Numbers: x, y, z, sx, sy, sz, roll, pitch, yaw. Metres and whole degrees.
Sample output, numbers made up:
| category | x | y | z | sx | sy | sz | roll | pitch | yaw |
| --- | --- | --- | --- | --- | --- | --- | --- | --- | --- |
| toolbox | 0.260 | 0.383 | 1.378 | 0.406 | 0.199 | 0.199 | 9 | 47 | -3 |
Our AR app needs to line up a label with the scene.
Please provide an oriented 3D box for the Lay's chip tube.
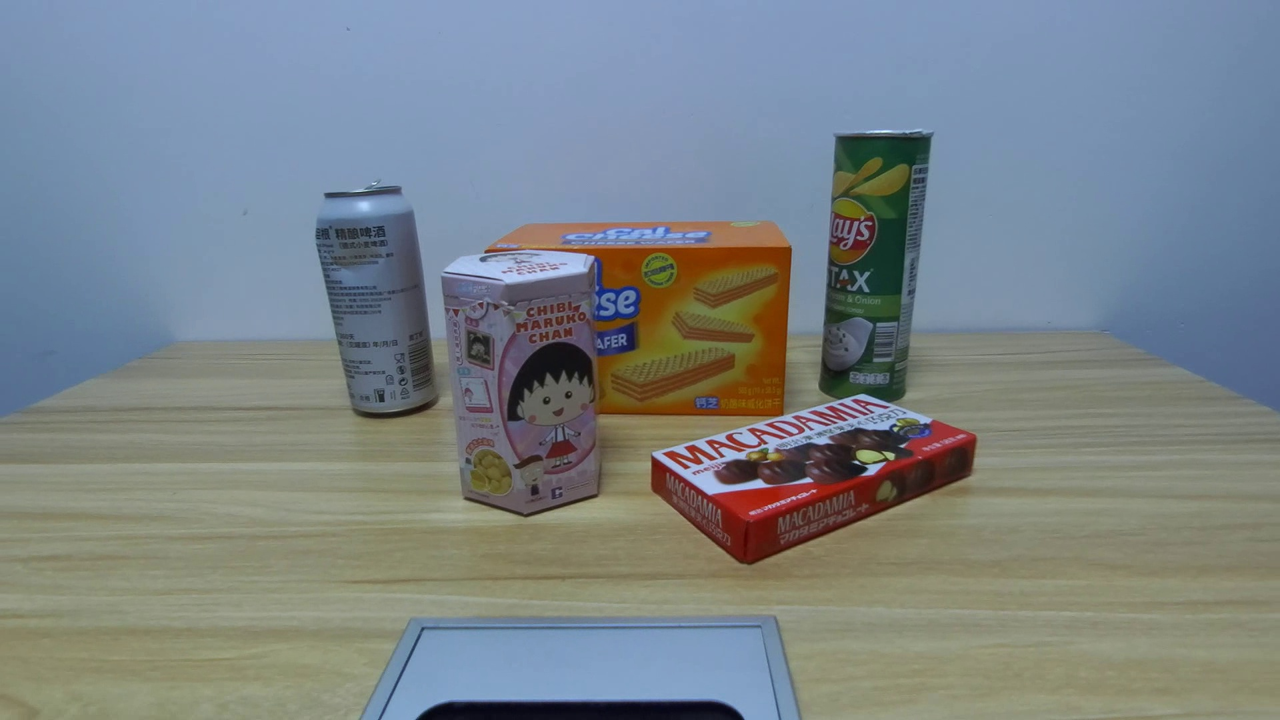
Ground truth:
| category | x | y | z | sx | sy | sz | roll | pitch | yaw |
| --- | --- | --- | --- | --- | --- | --- | --- | --- | --- |
| Lay's chip tube | 0.180 | -0.072 | 0.545 | 0.071 | 0.202 | 0.071 | -1 | 17 | 1 |

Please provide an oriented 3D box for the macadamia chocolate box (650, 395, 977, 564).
| category | x | y | z | sx | sy | sz | roll | pitch | yaw |
| --- | --- | --- | --- | --- | --- | --- | --- | --- | --- |
| macadamia chocolate box | 0.104 | 0.062 | 0.423 | 0.178 | 0.027 | 0.095 | -11 | 20 | -28 |

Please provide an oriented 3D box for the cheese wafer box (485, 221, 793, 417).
| category | x | y | z | sx | sy | sz | roll | pitch | yaw |
| --- | --- | --- | --- | --- | --- | --- | --- | --- | --- |
| cheese wafer box | 0.004 | -0.040 | 0.577 | 0.222 | 0.129 | 0.148 | 0 | 18 | 3 |

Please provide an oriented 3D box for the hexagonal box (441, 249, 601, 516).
| category | x | y | z | sx | sy | sz | roll | pitch | yaw |
| --- | --- | --- | --- | --- | --- | --- | --- | --- | --- |
| hexagonal box | -0.064 | 0.011 | 0.413 | 0.091 | 0.136 | 0.083 | -12 | 20 | -28 |

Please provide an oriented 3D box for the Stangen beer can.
| category | x | y | z | sx | sy | sz | roll | pitch | yaw |
| --- | --- | --- | --- | --- | --- | --- | --- | --- | --- |
| Stangen beer can | -0.199 | -0.046 | 0.539 | 0.070 | 0.173 | 0.069 | -6 | 17 | -11 |
